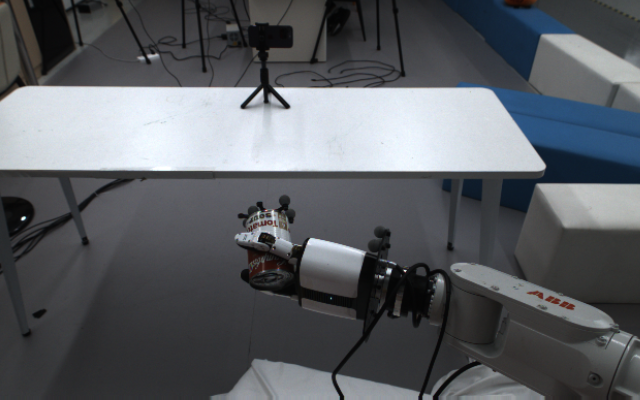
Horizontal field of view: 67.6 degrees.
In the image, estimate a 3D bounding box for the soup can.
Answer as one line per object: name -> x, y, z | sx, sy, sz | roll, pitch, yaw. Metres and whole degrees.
soup can -> -0.073, 0.075, 0.712 | 0.067, 0.067, 0.101 | -5, 57, -9
